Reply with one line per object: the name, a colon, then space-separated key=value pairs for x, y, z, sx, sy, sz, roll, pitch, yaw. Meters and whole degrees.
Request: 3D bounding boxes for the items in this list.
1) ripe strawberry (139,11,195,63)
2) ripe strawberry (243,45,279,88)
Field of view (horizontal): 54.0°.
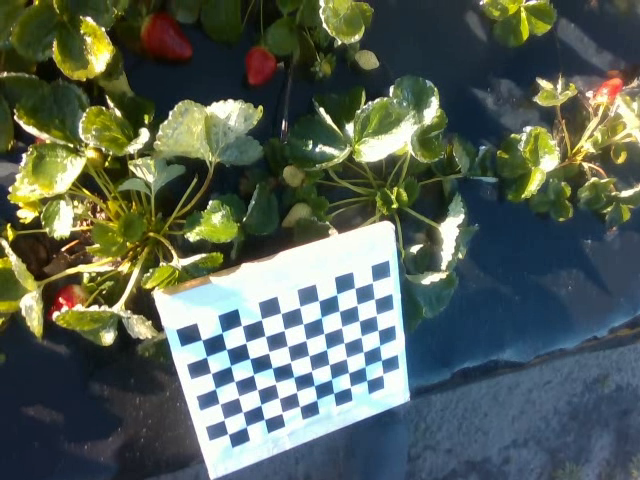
ripe strawberry: x=-0.150 y=-0.197 z=0.623 sx=0.056 sy=0.044 sz=0.040 roll=35 pitch=0 yaw=-30
ripe strawberry: x=-0.062 y=-0.179 z=0.653 sx=0.039 sy=0.047 sz=0.040 roll=23 pitch=-4 yaw=-29
